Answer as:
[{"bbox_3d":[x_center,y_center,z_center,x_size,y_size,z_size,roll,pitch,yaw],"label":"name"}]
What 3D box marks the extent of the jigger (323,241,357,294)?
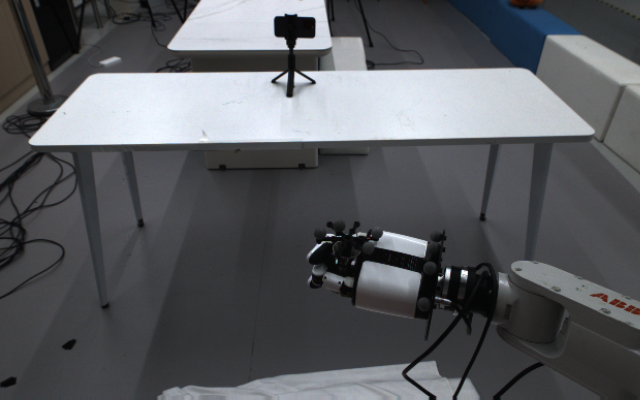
[{"bbox_3d":[0.039,0.096,0.707,0.043,0.071,0.043,4,31,-2],"label":"jigger"}]
